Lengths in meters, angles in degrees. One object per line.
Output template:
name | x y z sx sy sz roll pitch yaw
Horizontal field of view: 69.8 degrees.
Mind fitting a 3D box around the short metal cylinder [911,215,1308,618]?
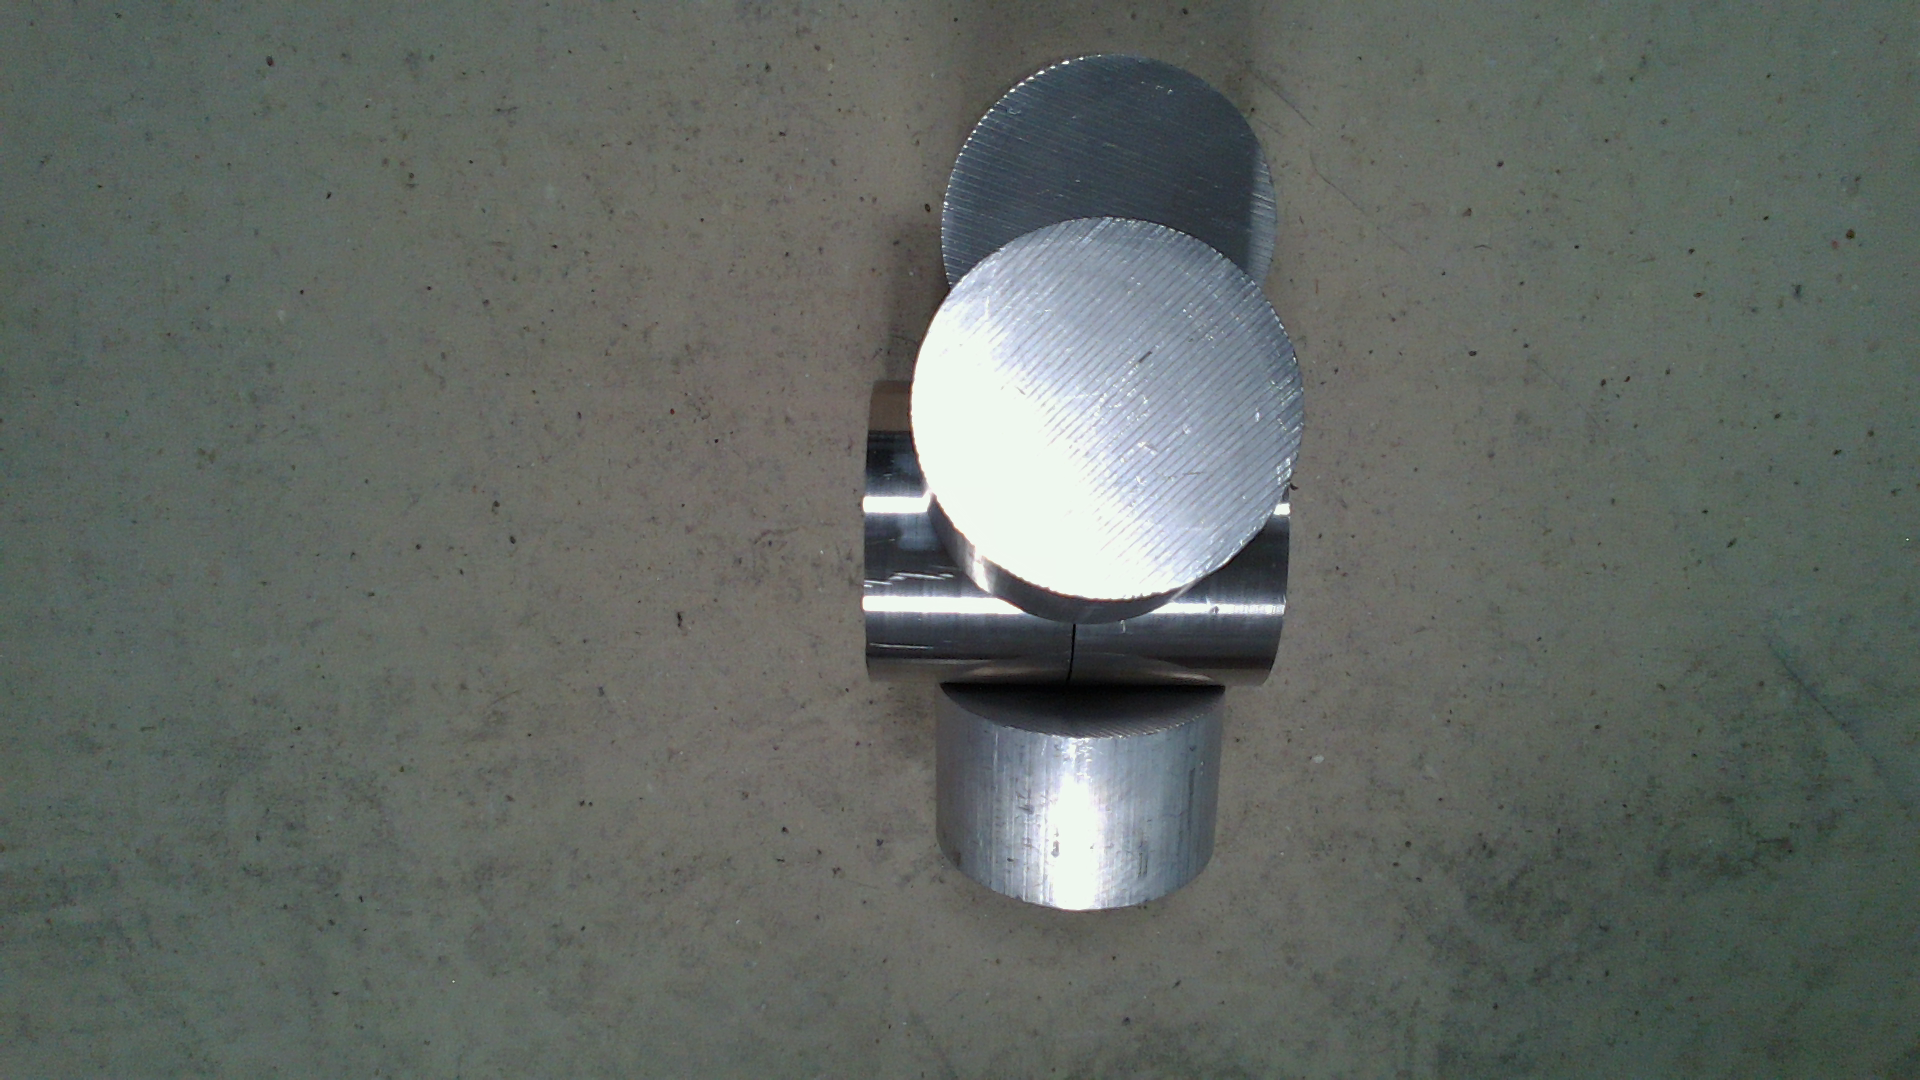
short metal cylinder | 0.030 -0.024 0.302 0.080 0.050 0.080 0 82 0

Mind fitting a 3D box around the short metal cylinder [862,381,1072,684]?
short metal cylinder | 0.002 -0.002 0.365 0.050 0.080 0.080 1 110 0

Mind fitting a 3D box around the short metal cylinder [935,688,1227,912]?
short metal cylinder | 0.033 0.060 0.387 0.080 0.080 0.050 0 110 0

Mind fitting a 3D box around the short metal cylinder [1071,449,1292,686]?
short metal cylinder | 0.054 -0.001 0.364 0.050 0.080 0.080 0 110 1

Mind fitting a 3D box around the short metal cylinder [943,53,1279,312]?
short metal cylinder | 0.036 -0.082 0.351 0.080 0.050 0.080 0 110 0
